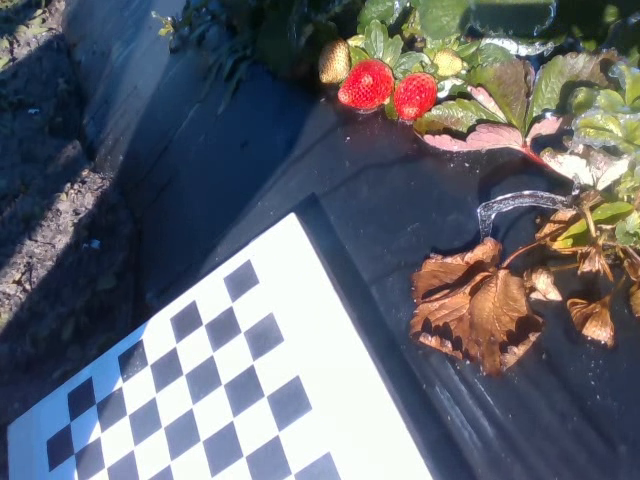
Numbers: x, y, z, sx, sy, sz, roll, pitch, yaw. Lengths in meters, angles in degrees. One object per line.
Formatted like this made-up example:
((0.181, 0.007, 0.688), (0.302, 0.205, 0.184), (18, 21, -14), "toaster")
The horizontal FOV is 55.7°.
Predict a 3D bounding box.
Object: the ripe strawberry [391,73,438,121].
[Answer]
((0.067, -0.100, 0.427), (0.036, 0.041, 0.030), (-14, -38, 26), "ripe strawberry")

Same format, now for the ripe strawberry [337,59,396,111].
((0.028, -0.107, 0.433), (0.036, 0.040, 0.051), (12, 34, 36), "ripe strawberry")
